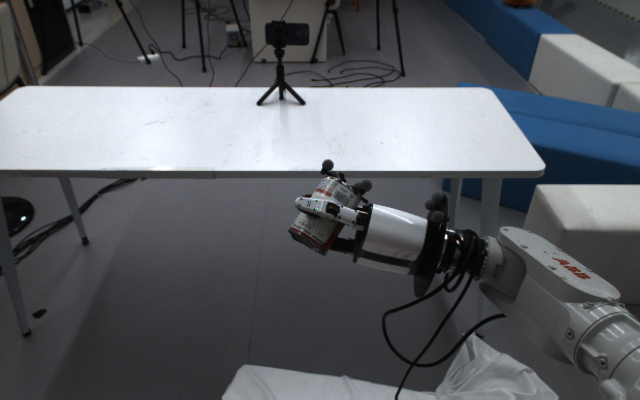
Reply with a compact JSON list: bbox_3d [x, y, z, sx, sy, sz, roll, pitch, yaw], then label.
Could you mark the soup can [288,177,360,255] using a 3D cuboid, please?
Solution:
[{"bbox_3d":[0.008,0.023,0.727,0.067,0.067,0.101,26,75,31],"label":"soup can"}]
